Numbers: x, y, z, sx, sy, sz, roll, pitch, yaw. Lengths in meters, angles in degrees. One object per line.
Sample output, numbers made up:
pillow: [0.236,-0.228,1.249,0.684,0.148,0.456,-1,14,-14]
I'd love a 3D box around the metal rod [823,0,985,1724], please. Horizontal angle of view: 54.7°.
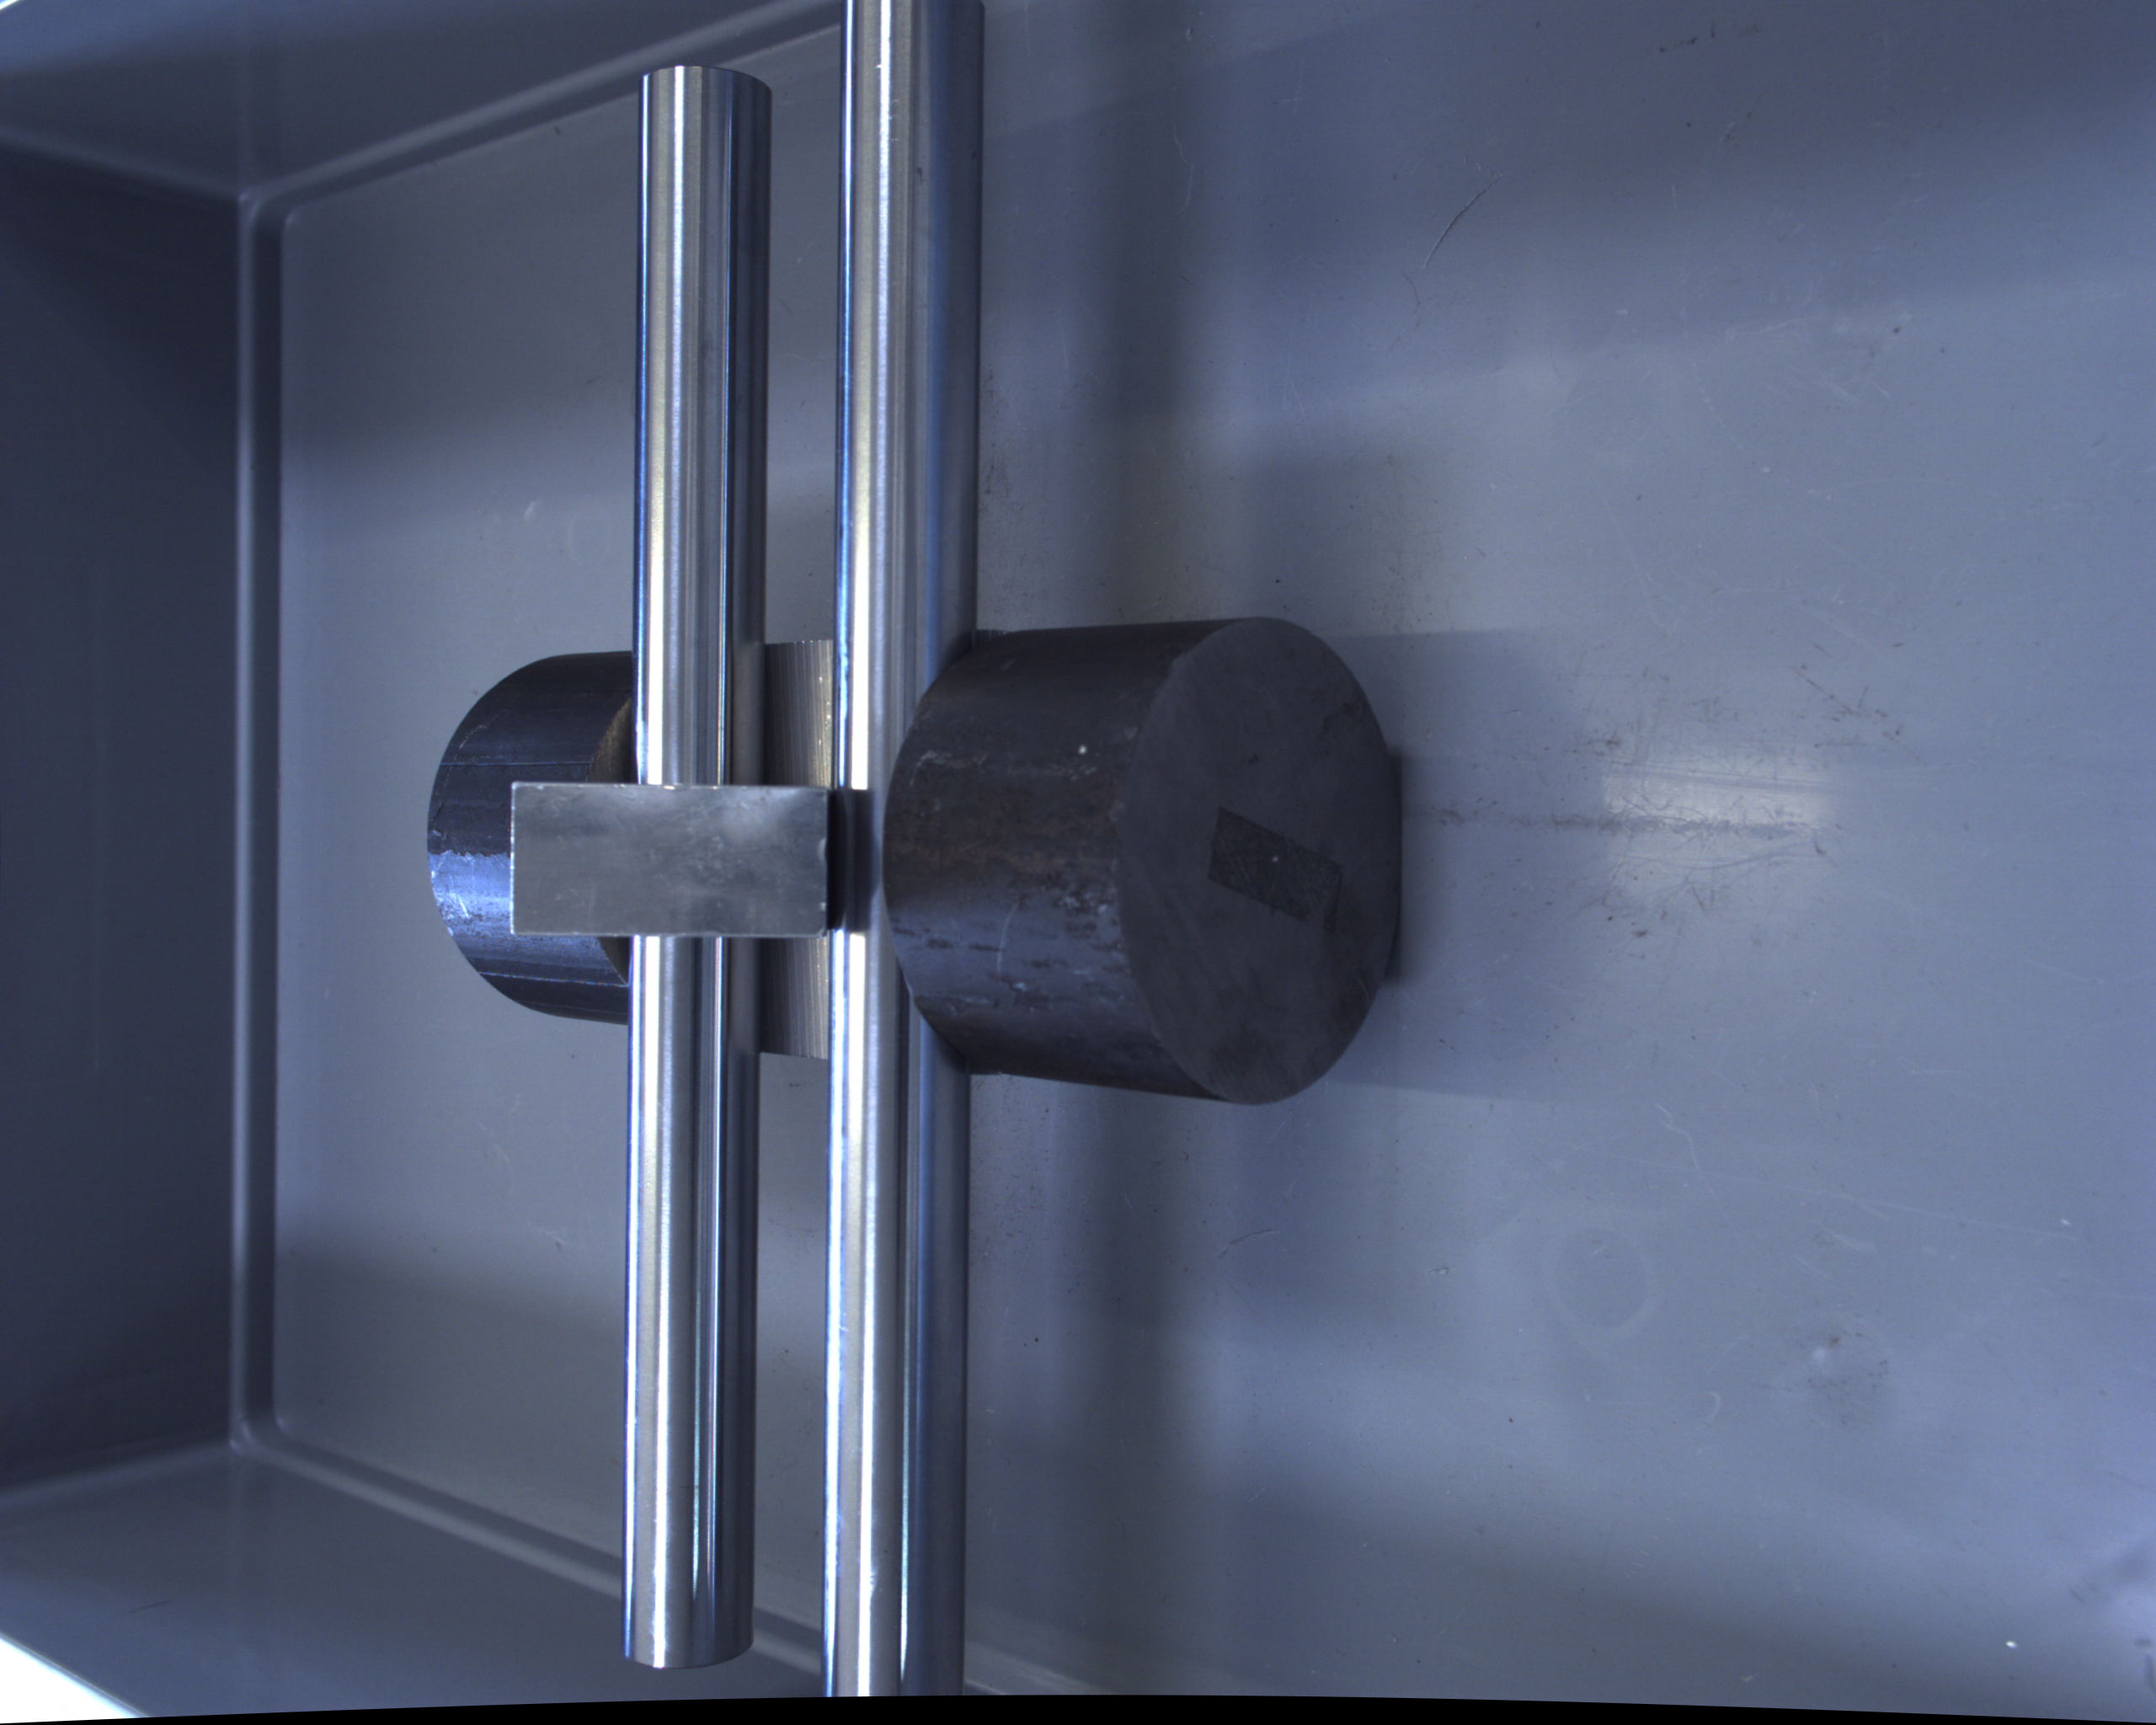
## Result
metal rod: [-0.030,0.000,0.365,0.025,0.025,0.298,1,91,40]

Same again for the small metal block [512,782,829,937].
small metal block: [-0.068,-0.001,0.363,0.050,0.050,0.025,-171,81,-84]

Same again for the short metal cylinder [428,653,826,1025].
short metal cylinder: [-0.088,-0.005,0.441,0.050,0.081,0.079,2,91,40]

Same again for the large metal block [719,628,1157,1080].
large metal block: [-0.028,-0.002,0.411,0.080,0.050,0.079,1,91,40]

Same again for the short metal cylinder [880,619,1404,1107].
short metal cylinder: [0.013,0.000,0.358,0.050,0.081,0.079,1,91,41]

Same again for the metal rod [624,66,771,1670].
metal rod: [-0.073,0.001,0.400,0.025,0.025,0.298,1,91,40]
